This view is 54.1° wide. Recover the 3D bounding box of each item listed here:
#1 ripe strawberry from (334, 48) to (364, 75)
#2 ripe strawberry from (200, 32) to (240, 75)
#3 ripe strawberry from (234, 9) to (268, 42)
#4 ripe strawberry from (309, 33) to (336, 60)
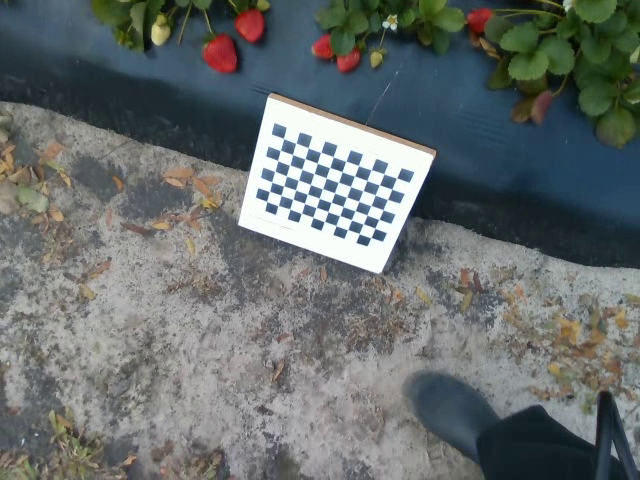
[{"bbox_3d":[0.041,-0.287,0.987,0.043,0.049,0.041,16,-23,5],"label":"ripe strawberry"},{"bbox_3d":[-0.162,-0.302,1.018,0.058,0.065,0.043,-33,6,39],"label":"ripe strawberry"},{"bbox_3d":[-0.114,-0.345,1.003,0.051,0.060,0.050,2,-30,-40],"label":"ripe strawberry"},{"bbox_3d":[0.004,-0.311,0.995,0.053,0.047,0.039,-19,42,-10],"label":"ripe strawberry"}]
